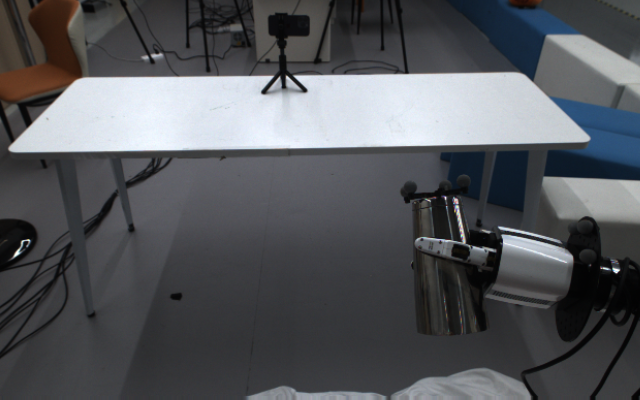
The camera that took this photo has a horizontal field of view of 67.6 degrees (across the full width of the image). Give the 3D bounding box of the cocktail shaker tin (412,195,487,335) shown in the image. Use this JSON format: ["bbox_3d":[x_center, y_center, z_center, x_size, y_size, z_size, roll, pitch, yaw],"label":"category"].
[{"bbox_3d":[0.165,0.084,0.639,0.093,0.170,0.093,-6,-7,-1],"label":"cocktail shaker tin"}]
